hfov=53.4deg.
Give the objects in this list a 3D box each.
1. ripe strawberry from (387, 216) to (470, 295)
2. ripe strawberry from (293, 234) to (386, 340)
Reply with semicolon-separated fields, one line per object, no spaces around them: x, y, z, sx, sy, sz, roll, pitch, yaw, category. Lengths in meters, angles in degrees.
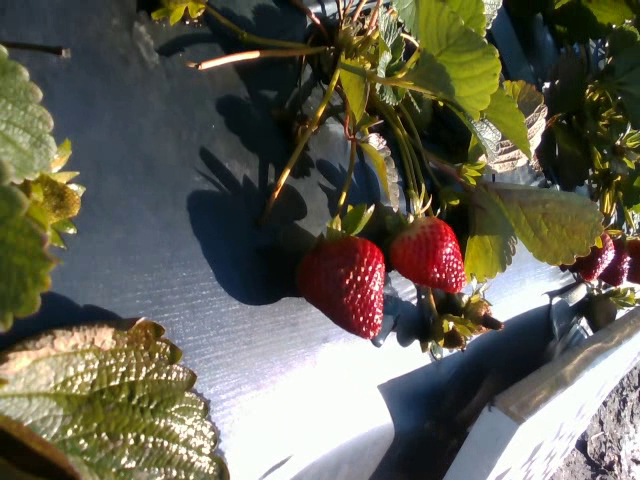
0.060;0.010;0.329;0.042;0.049;0.039;-41;-6;-13;ripe strawberry
0.014;0.023;0.274;0.044;0.050;0.050;-36;-25;21;ripe strawberry
